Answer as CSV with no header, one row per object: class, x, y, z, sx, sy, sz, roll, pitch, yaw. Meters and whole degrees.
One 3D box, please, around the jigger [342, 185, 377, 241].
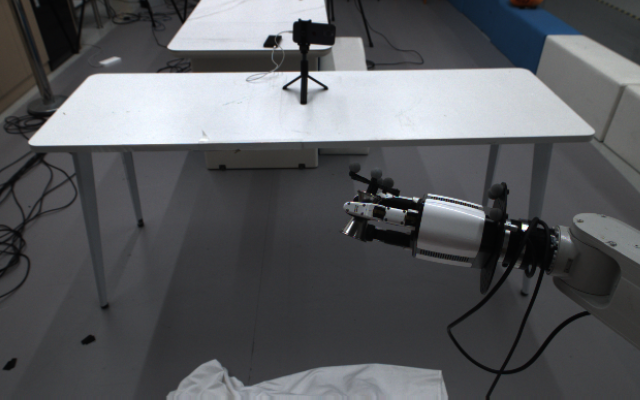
jigger,0.059,0.022,0.712,0.043,0.071,0.043,24,-3,1
